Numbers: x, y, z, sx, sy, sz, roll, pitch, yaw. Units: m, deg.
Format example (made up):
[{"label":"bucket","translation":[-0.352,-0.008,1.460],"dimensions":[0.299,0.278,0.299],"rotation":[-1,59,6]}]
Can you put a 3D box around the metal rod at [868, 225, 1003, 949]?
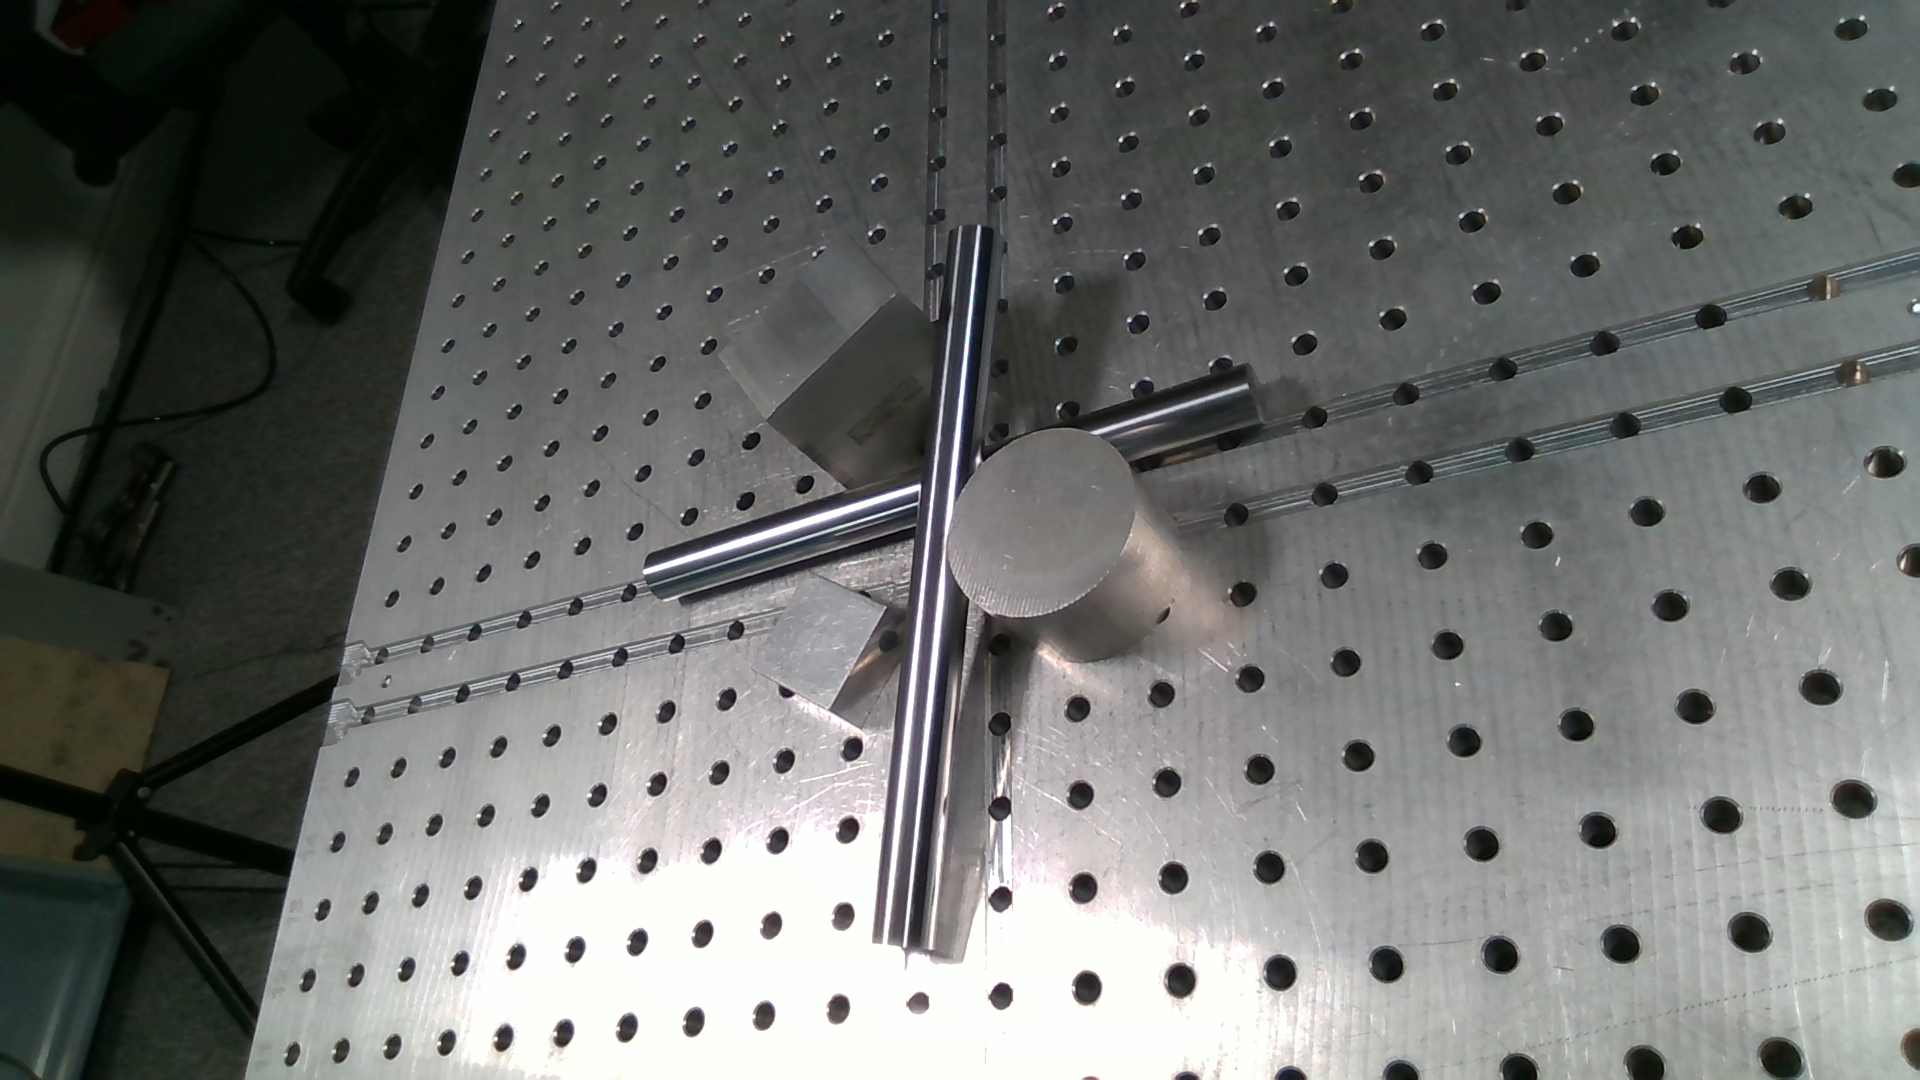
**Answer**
[{"label":"metal rod","translation":[-0.008,0.011,0.563],"dimensions":[0.025,0.025,0.299],"rotation":[-4,71,30]}]

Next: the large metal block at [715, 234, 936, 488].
[{"label":"large metal block","translation":[-0.048,-0.075,0.621],"dimensions":[0.080,0.080,0.050],"rotation":[-44,51,4]}]

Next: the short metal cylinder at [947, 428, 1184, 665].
[{"label":"short metal cylinder","translation":[0.042,0.003,0.545],"dimensions":[0.080,0.050,0.080],"rotation":[-14,59,25]}]

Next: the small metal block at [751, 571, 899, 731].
[{"label":"small metal block","translation":[-0.055,0.048,0.598],"dimensions":[0.050,0.025,0.050],"rotation":[22,78,38]}]

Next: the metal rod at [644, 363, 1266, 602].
[{"label":"metal rod","translation":[-0.014,-0.020,0.608],"dimensions":[0.300,0.025,0.025],"rotation":[-16,58,24]}]
